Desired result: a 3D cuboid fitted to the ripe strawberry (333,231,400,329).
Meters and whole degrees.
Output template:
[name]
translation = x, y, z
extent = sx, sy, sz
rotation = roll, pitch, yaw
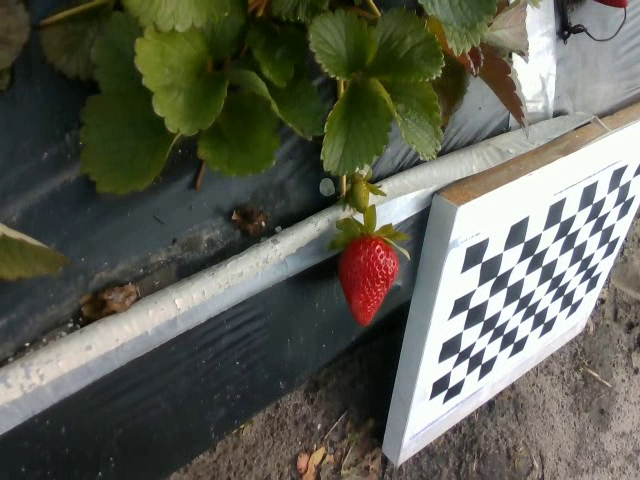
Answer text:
[ripe strawberry]
translation = 0.025, 0.020, 0.320
extent = 0.030, 0.053, 0.047
rotation = 8, -8, 36
